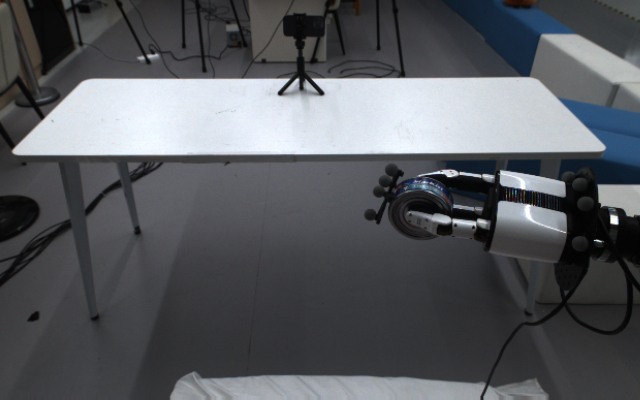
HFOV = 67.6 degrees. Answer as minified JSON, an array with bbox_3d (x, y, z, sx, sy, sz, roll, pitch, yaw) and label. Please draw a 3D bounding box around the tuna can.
[{"bbox_3d":[0.139,0.010,0.658,0.085,0.085,0.034,9,35,9],"label":"tuna can"}]
